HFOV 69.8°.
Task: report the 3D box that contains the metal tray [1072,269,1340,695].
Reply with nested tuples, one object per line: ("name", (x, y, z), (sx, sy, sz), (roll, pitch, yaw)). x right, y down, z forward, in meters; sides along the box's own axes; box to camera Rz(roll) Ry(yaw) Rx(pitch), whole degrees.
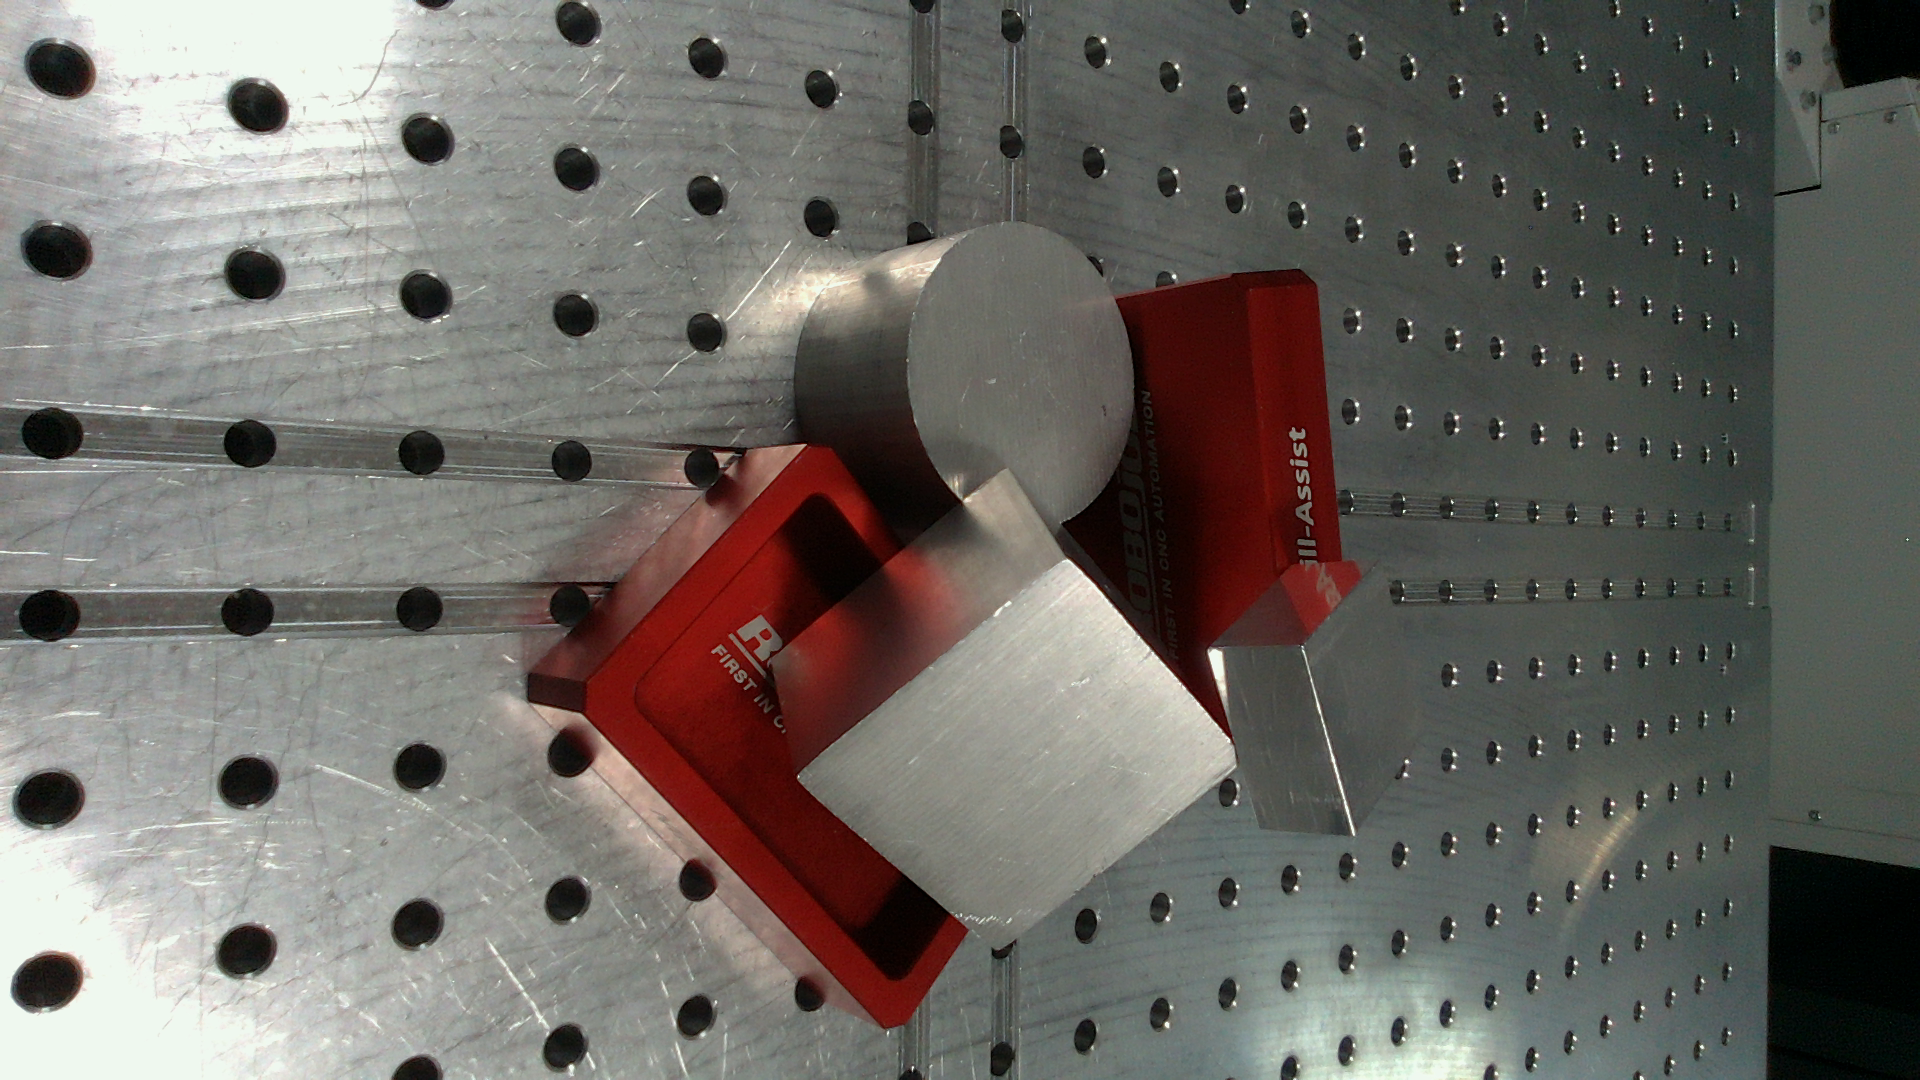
("metal tray", (0.064, -0.007, 0.403), (0.030, 0.090, 0.130), (-12, 98, -39))

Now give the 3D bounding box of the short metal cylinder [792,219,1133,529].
("short metal cylinder", (0.002, -0.043, 0.377), (0.080, 0.050, 0.080), (0, 90, -40))

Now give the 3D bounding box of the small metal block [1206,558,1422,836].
("small metal block", (0.090, 0.038, 0.345), (0.050, 0.025, 0.050), (-35, 112, -46))

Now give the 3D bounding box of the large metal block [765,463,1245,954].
("large metal block", (0.011, 0.043, 0.344), (0.080, 0.050, 0.080), (-39, 120, 7))

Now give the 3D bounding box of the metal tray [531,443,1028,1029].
("metal tray", (-0.035, 0.051, 0.358), (0.090, 0.030, 0.130), (-51, 120, -28))
